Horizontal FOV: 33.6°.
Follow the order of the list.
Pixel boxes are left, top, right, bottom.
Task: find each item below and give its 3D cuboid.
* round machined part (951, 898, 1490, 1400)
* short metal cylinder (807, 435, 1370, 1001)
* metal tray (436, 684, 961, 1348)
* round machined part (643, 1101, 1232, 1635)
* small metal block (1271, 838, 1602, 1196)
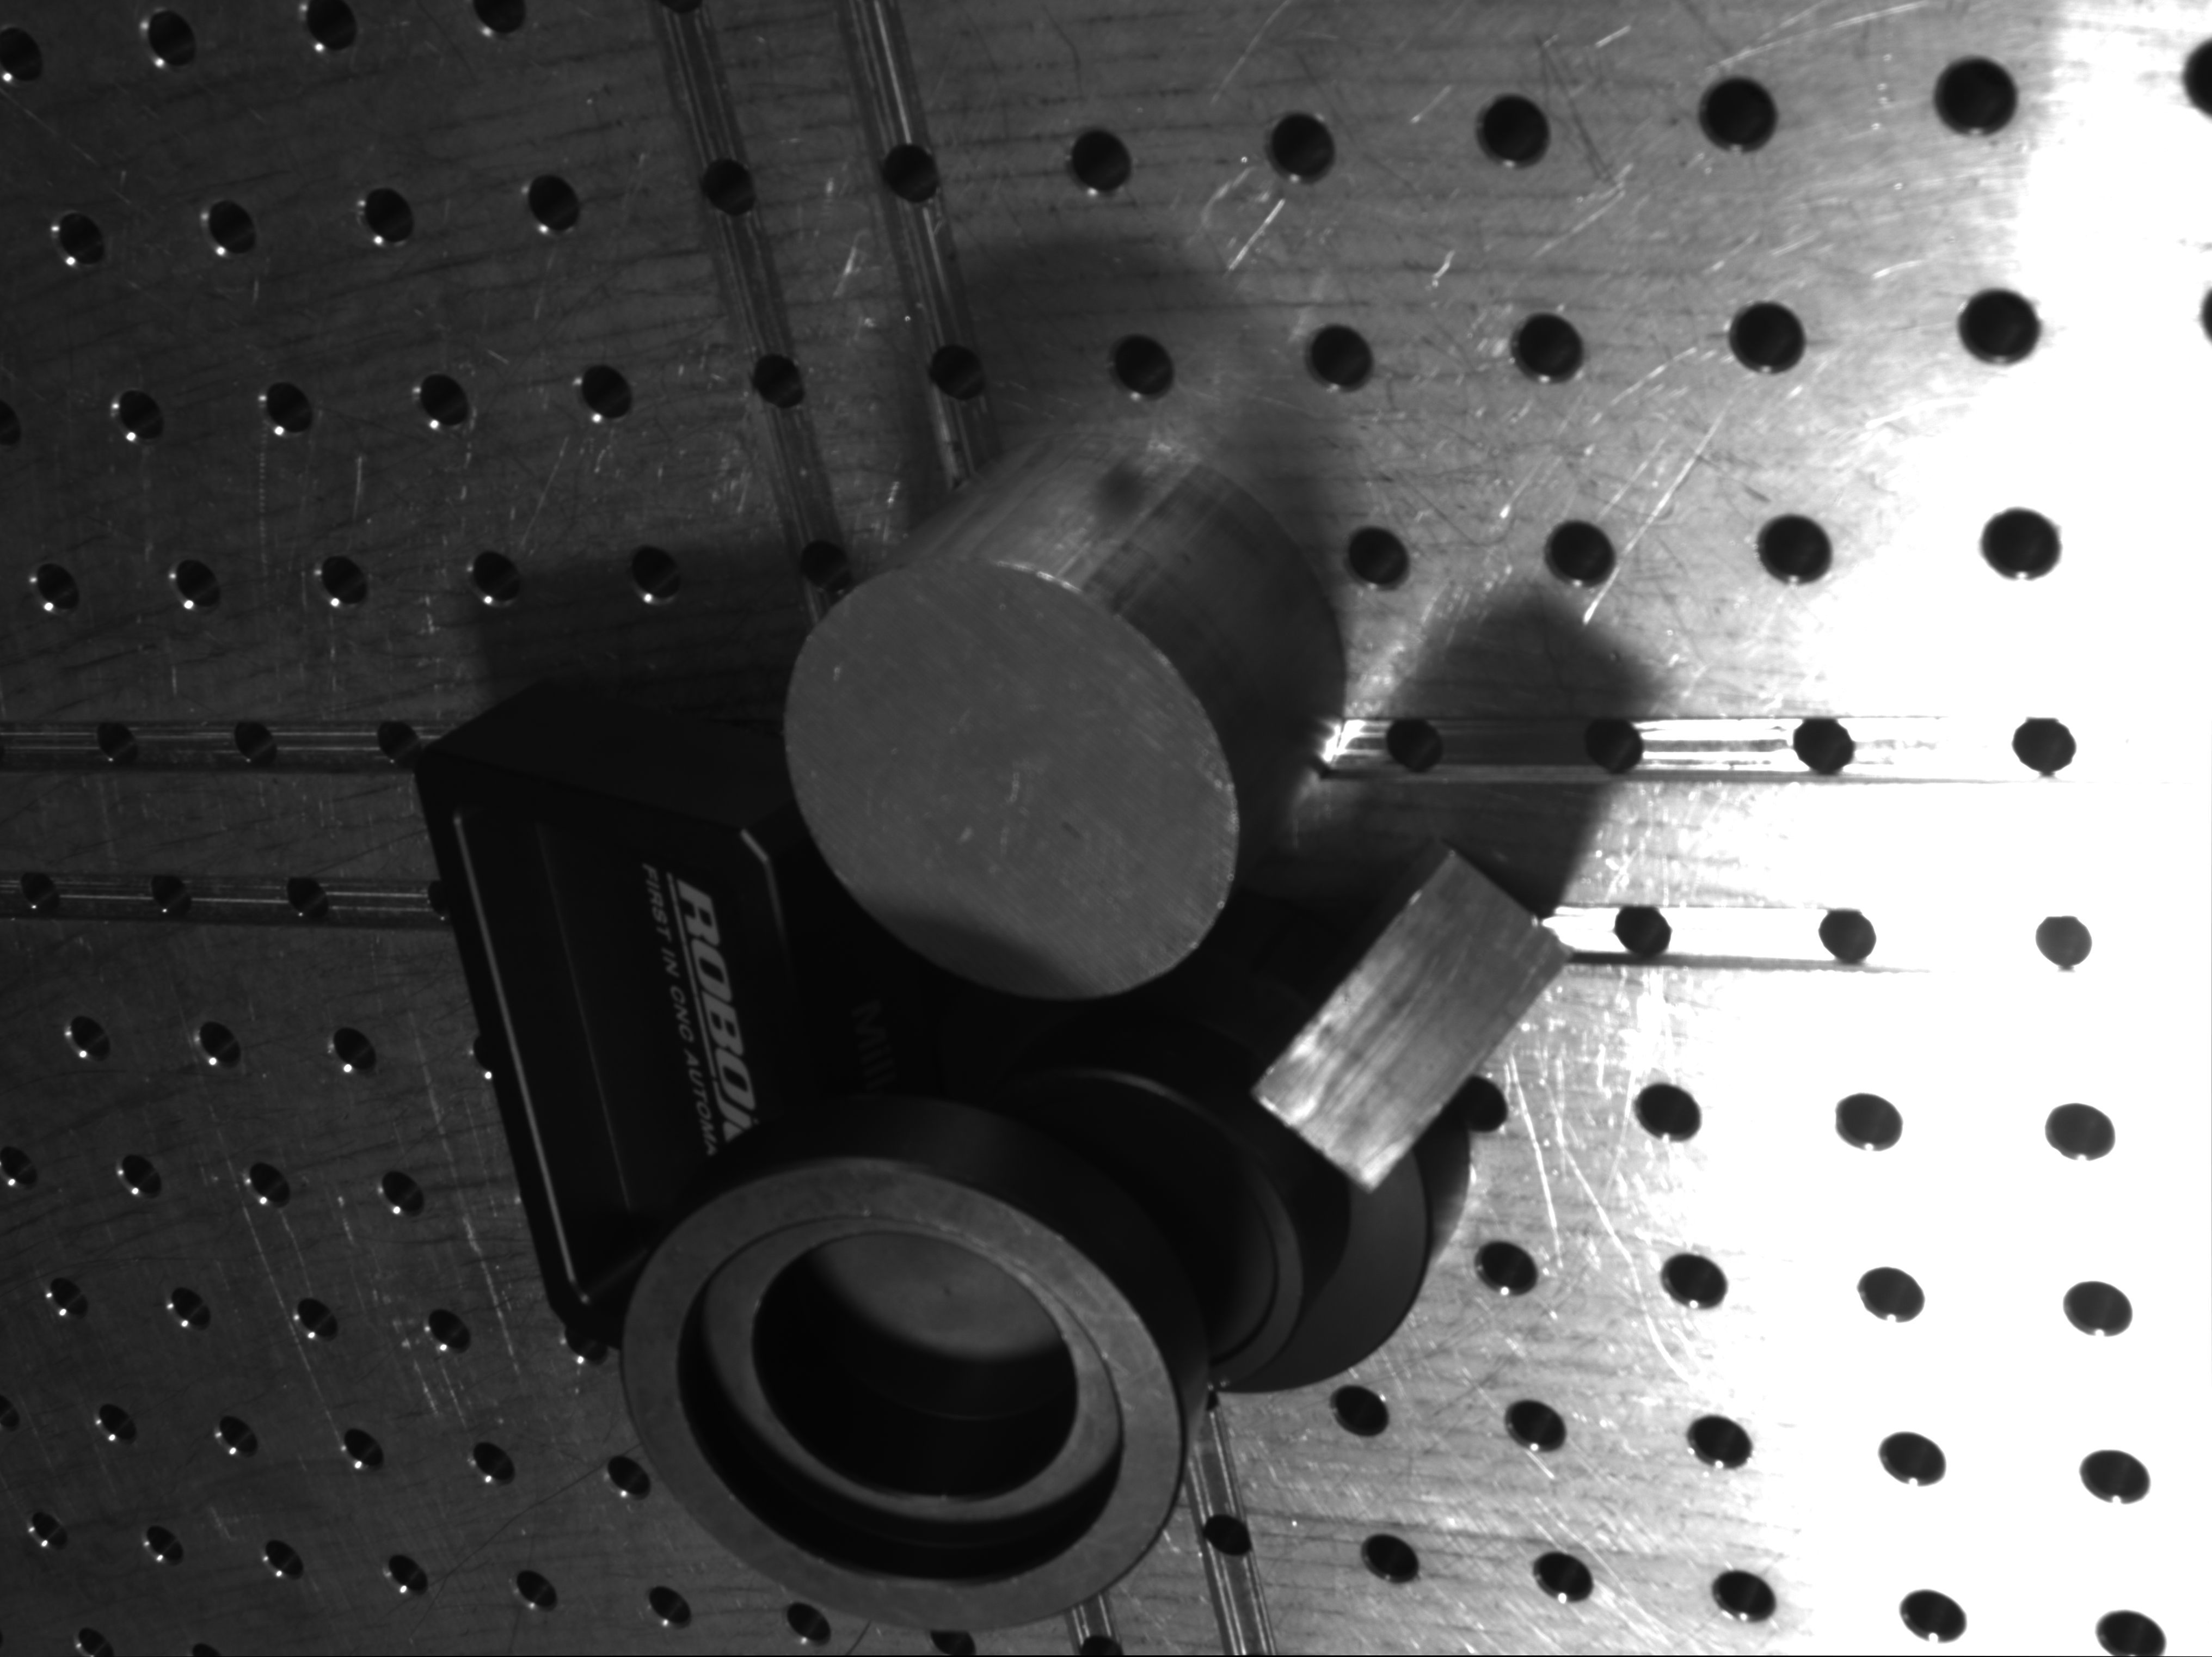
[{"bbox_3d":[0.015,0.062,0.651,0.098,0.042,0.098,12,123,20],"label":"round machined part"},{"bbox_3d":[-0.002,-0.019,0.608,0.080,0.050,0.080,12,123,20],"label":"short metal cylinder"},{"bbox_3d":[-0.070,0.044,0.678,0.090,0.030,0.130,13,125,37],"label":"metal tray"},{"bbox_3d":[-0.026,0.087,0.628,0.098,0.042,0.098,6,121,11],"label":"round machined part"},{"bbox_3d":[0.053,0.029,0.597,0.025,0.050,0.050,40,93,0],"label":"small metal block"}]
